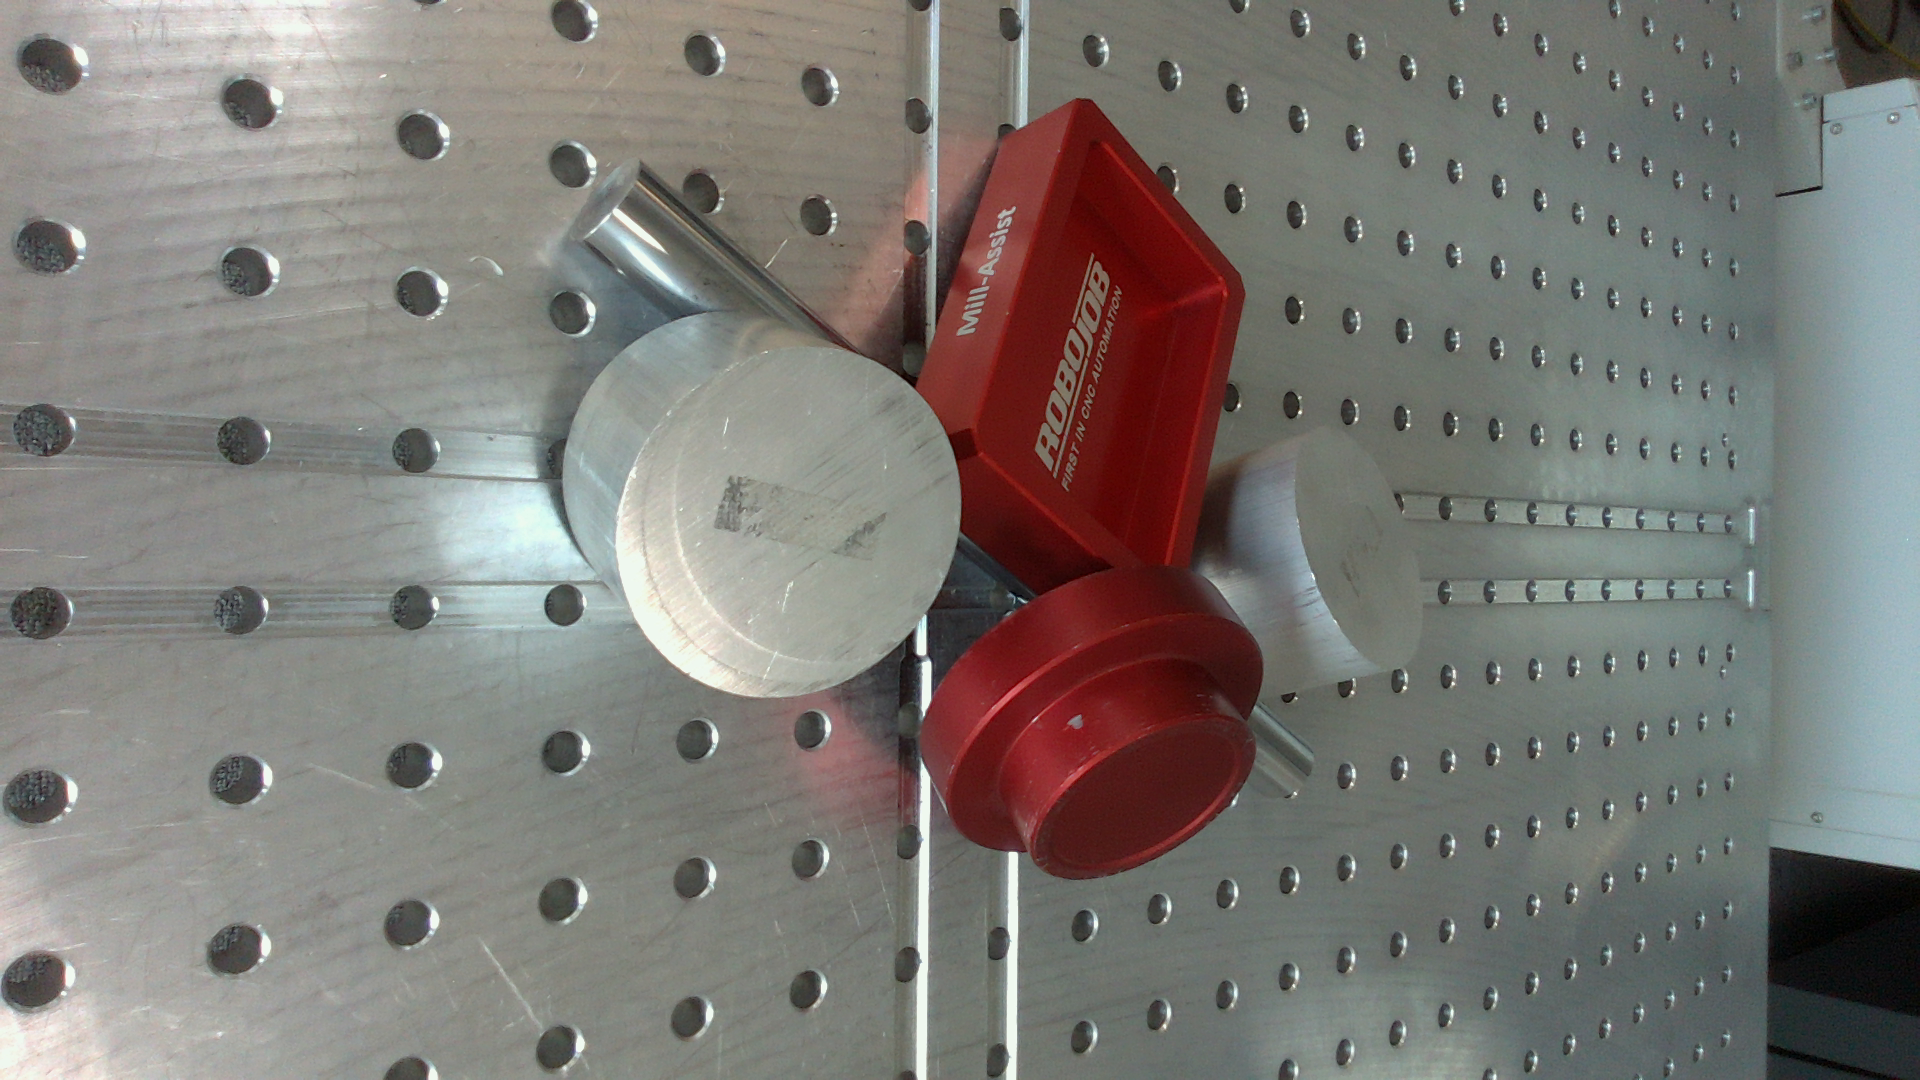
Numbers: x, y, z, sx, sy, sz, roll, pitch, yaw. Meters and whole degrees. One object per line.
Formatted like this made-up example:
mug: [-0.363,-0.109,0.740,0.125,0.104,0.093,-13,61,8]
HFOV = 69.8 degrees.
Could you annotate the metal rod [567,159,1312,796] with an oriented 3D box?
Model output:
metal rod: [0.015,0.000,0.404,0.301,0.025,0.025,39,66,-33]

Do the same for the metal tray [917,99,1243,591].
metal tray: [0.037,-0.051,0.400,0.090,0.030,0.130,39,53,-33]

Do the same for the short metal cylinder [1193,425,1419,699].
short metal cylinder: [0.108,0.009,0.450,0.080,0.050,0.080,25,55,-42]

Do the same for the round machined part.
round machined part: [0.041,0.057,0.380,0.098,0.042,0.098,-18,139,-15]

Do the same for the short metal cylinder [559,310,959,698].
short metal cylinder: [-0.047,-0.010,0.321,0.080,0.050,0.080,-10,111,-27]
